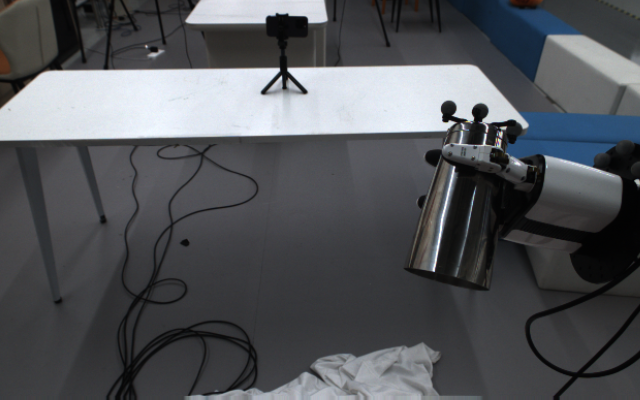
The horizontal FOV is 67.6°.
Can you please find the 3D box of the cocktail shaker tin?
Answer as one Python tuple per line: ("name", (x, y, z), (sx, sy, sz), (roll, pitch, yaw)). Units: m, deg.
("cocktail shaker tin", (0.160, 0.002, 0.535), (0.093, 0.093, 0.170), (13, 79, 15))
